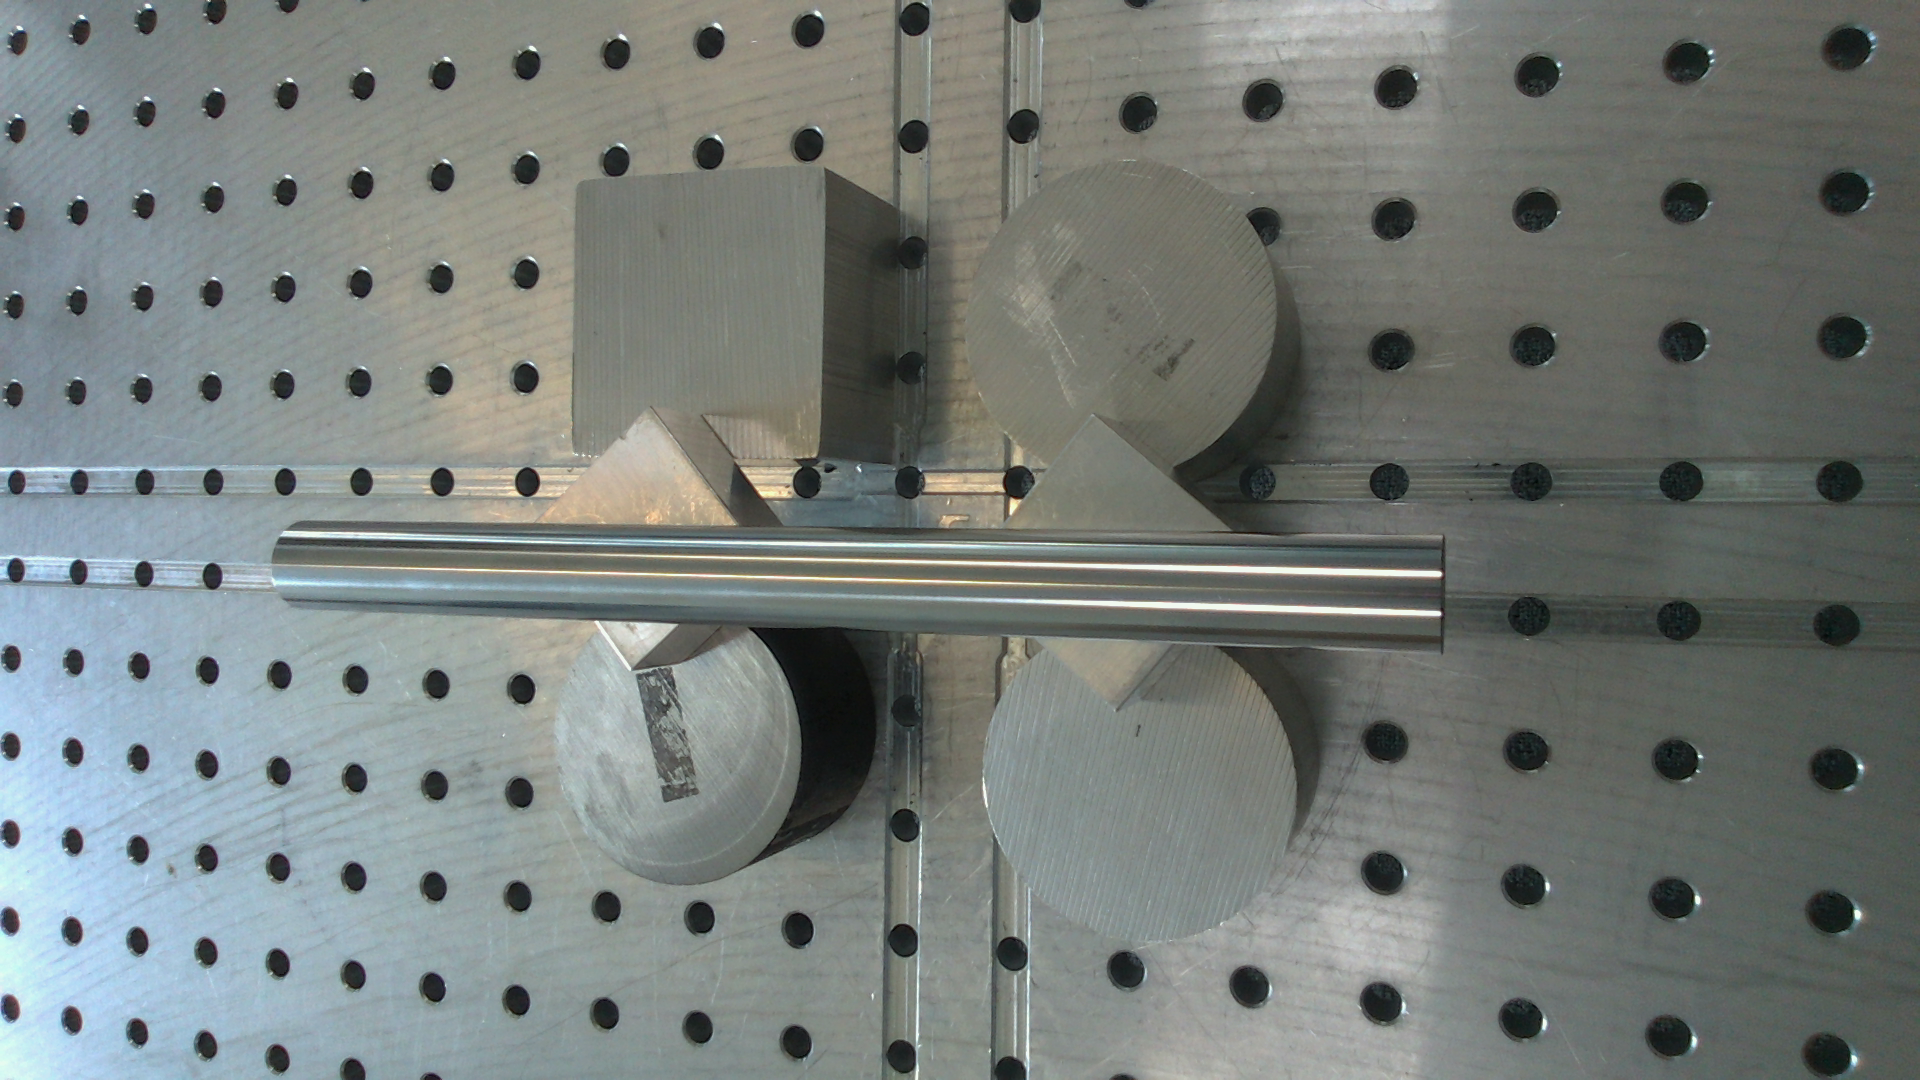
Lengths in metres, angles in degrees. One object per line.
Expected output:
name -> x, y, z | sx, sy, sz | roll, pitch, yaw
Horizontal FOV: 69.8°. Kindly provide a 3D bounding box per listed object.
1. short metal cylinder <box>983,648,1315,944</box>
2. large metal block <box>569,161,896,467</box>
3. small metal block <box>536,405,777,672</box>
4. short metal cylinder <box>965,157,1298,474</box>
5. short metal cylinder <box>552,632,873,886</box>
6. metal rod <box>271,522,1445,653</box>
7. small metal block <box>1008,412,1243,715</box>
short metal cylinder -> 0.052, 0.061, 0.367 | 0.080, 0.050, 0.080 | 0, 90, 20
large metal block -> -0.066, -0.063, 0.408 | 0.080, 0.050, 0.080 | 1, 91, 20
small metal block -> -0.081, 0.000, 0.375 | 0.050, 0.025, 0.050 | -42, 77, 15
short metal cylinder -> 0.048, -0.056, 0.368 | 0.080, 0.050, 0.080 | 0, 90, 20
short metal cylinder -> -0.073, 0.057, 0.410 | 0.080, 0.050, 0.080 | 0, 90, 20
metal rod -> -0.041, 0.009, 0.333 | 0.299, 0.025, 0.025 | 1, 90, 20
small metal block -> 0.038, 0.005, 0.332 | 0.050, 0.025, 0.050 | 42, 103, 15
